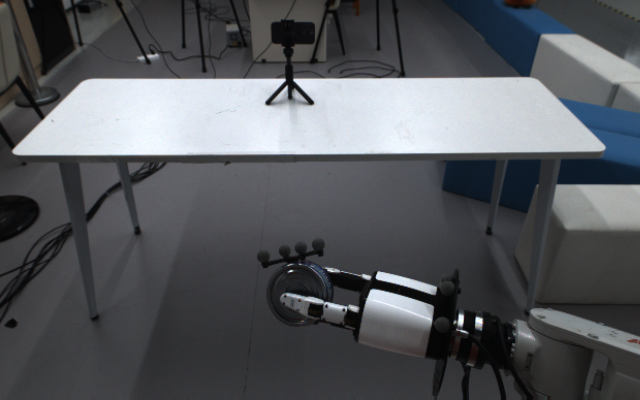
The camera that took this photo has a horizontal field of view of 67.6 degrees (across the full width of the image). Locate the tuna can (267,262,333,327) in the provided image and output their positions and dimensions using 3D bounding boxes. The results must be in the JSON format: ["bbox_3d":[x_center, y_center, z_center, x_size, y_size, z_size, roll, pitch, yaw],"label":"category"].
[{"bbox_3d":[-0.023,0.130,0.642,0.085,0.085,0.034,12,3,14],"label":"tuna can"}]
